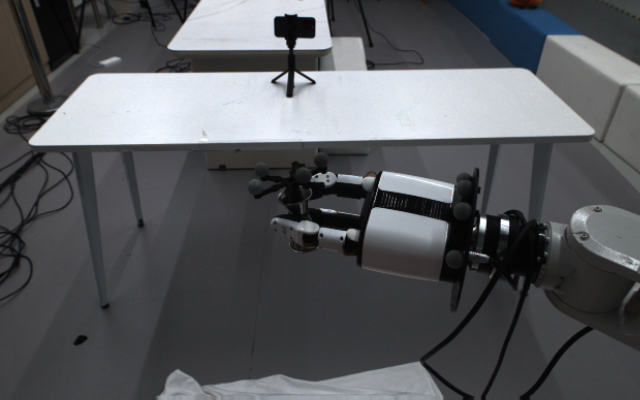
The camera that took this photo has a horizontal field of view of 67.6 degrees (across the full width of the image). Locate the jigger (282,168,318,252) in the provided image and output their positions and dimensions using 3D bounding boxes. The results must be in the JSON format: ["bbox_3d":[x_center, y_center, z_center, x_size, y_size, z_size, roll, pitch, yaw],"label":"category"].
[{"bbox_3d":[-0.021,0.022,0.567,0.043,0.071,0.043,-10,32,6],"label":"jigger"}]
